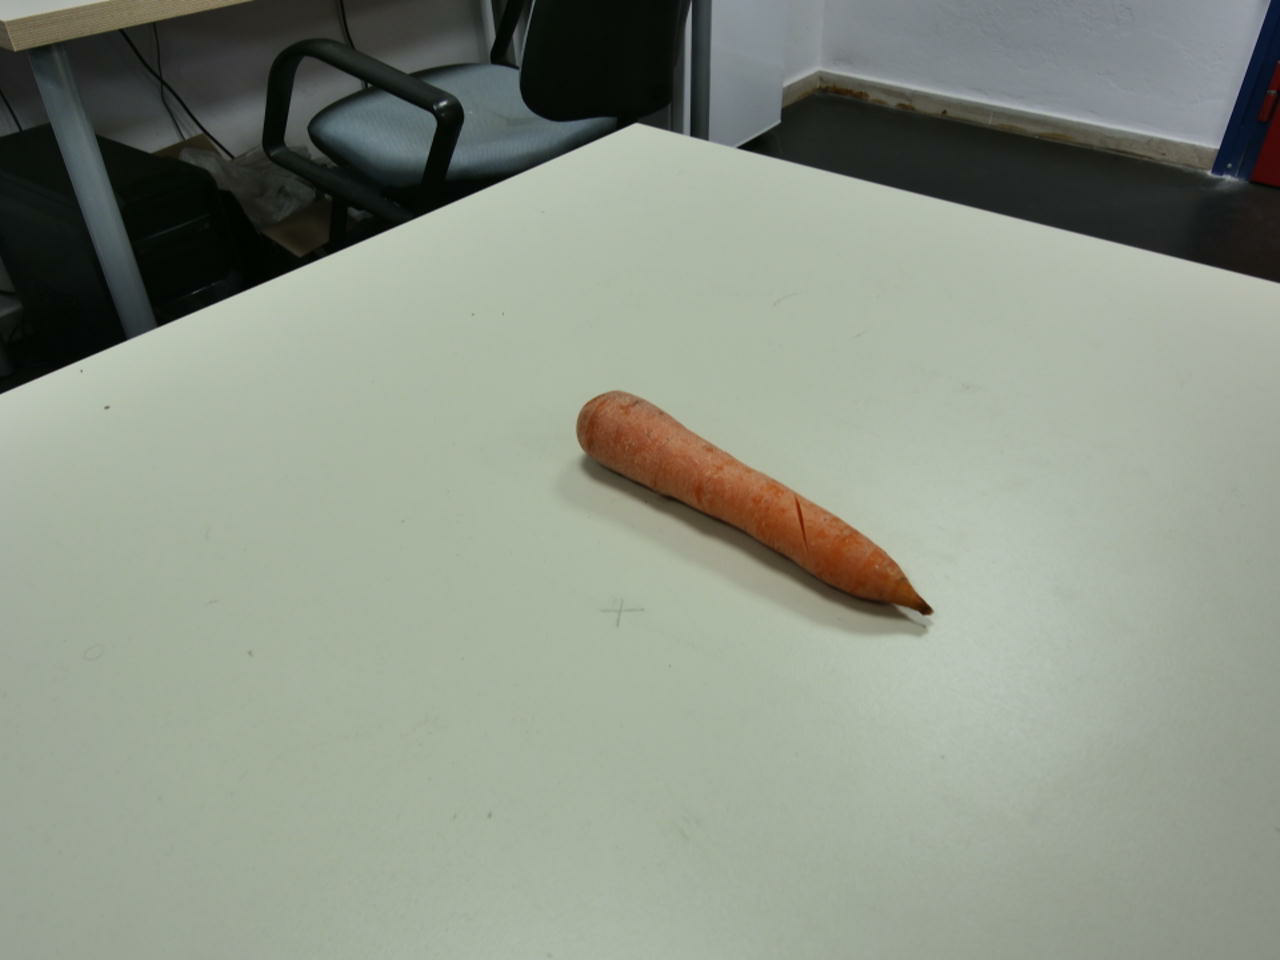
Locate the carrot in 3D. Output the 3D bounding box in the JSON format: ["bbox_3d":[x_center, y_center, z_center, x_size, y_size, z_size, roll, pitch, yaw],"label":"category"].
[{"bbox_3d":[0.049,0.006,0.460,0.196,0.041,0.039,27,44,31],"label":"carrot"}]
